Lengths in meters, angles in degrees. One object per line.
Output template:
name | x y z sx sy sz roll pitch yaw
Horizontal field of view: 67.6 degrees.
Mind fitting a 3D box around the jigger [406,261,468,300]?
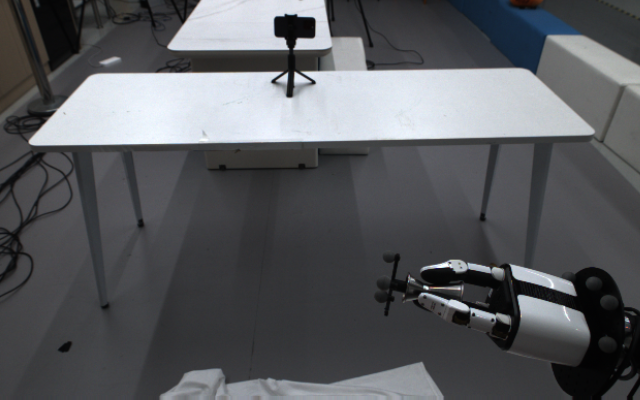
jigger | 0.149 0.111 0.615 0.071 0.043 0.043 9 35 9
